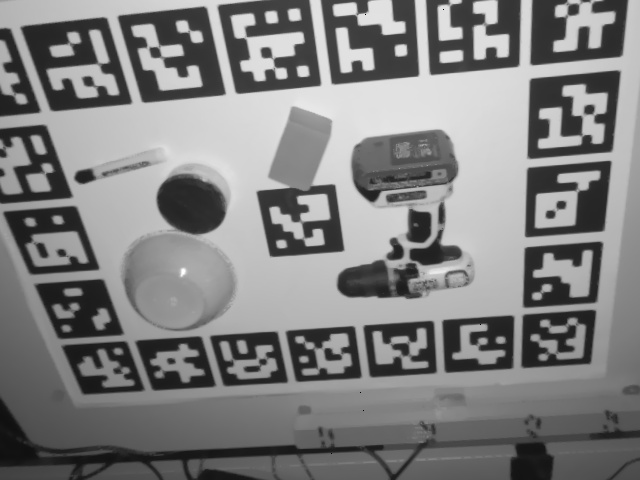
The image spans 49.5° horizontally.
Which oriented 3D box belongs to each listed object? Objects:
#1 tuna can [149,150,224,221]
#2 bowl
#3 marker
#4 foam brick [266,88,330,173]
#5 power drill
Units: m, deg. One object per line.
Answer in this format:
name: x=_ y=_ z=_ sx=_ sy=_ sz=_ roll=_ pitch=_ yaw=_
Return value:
tuna can: x=-0.161 y=-0.066 z=0.845 sx=0.085 sy=0.034 sz=0.085 roll=2 pitch=120 yaw=5
bowl: x=-0.196 y=0.048 z=0.913 sx=0.162 sy=0.055 sz=0.160 roll=-1 pitch=126 yaw=0
marker: x=-0.252 y=-0.109 z=0.834 sx=0.120 sy=0.020 sz=0.019 roll=-12 pitch=117 yaw=11
foam brick: x=-0.026 y=-0.127 z=0.800 sx=0.051 sy=0.053 sz=0.077 roll=18 pitch=118 yaw=-5
power drill: x=0.102 y=-0.036 z=0.840 sx=0.184 sy=0.058 sz=0.186 roll=-3 pitch=122 yaw=10
